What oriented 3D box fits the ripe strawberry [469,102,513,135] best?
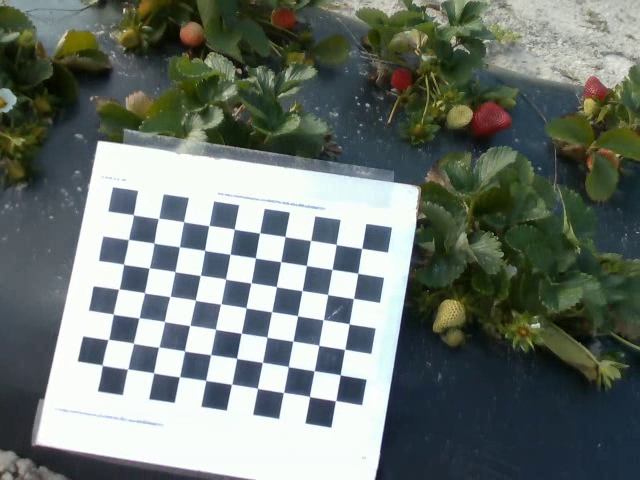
[{"bbox_3d":[0.230,-0.160,0.819,0.048,0.051,0.055,43,-2,-31],"label":"ripe strawberry"}]
